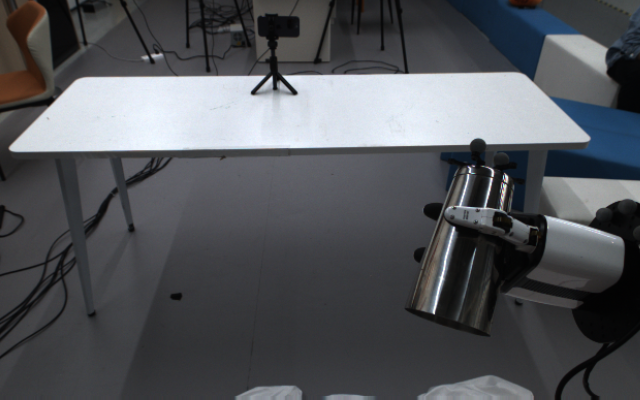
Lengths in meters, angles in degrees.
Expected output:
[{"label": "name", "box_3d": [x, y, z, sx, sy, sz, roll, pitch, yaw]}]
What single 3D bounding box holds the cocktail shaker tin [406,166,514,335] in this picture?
[{"label": "cocktail shaker tin", "box_3d": [0.163, 0.052, 0.533, 0.093, 0.093, 0.170, 15, 75, 18]}]
